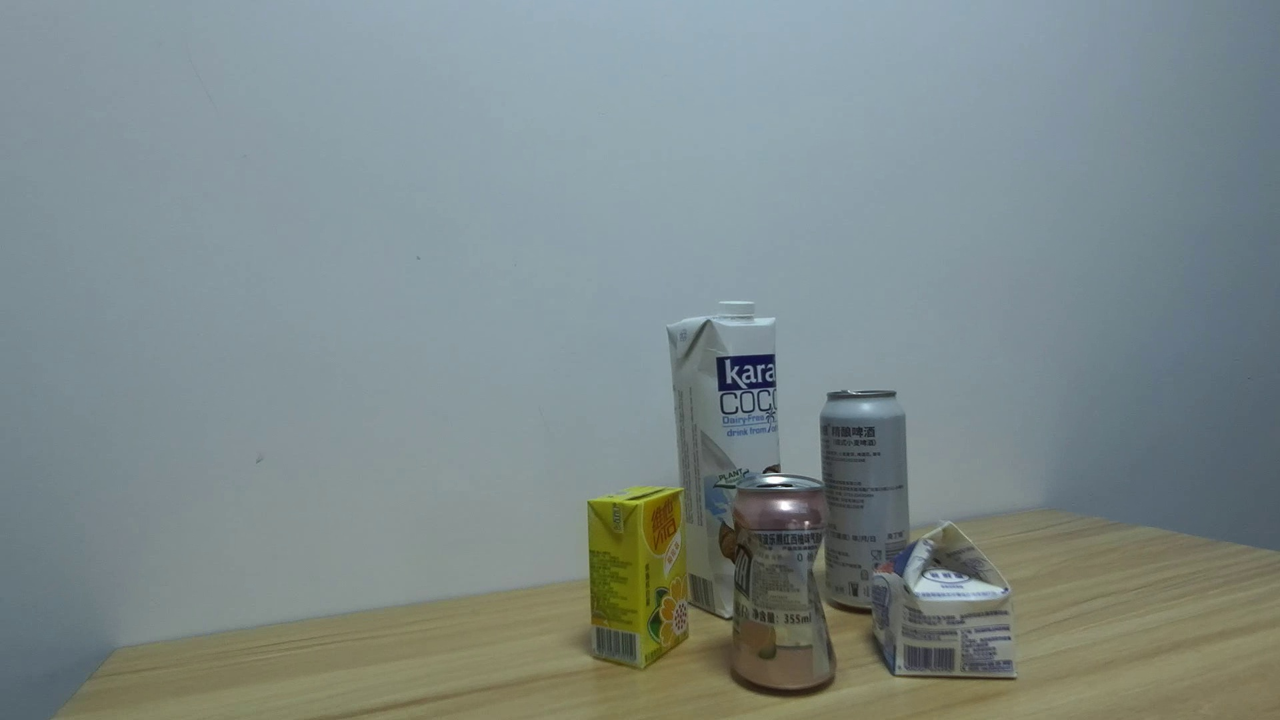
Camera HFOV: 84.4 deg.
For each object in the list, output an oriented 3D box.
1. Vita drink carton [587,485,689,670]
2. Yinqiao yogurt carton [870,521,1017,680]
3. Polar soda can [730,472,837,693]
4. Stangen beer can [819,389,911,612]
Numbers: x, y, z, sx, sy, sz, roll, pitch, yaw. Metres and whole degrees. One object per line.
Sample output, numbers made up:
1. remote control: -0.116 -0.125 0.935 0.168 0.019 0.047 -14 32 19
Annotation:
1. Vita drink carton: 0.000 0.146 0.492 0.043 0.109 0.067 -3 -1 31
2. Yinqiao yogurt carton: 0.194 0.146 0.456 0.077 0.093 0.083 -1 -2 9
3. Polar soda can: 0.090 0.138 0.441 0.067 0.121 0.074 -4 -3 45
4. Stangen beer can: 0.179 0.111 0.567 0.067 0.171 0.067 -1 -1 0
